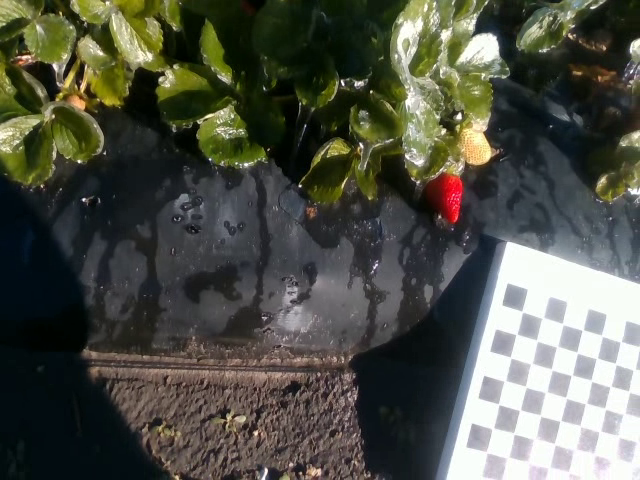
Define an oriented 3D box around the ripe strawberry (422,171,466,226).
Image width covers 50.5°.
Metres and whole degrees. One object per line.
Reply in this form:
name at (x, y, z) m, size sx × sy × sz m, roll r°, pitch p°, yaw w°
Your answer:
ripe strawberry at (0.131, -0.040, 0.656) m, size 0.041 × 0.052 × 0.040 m, roll 0°, pitch -9°, yaw -16°
